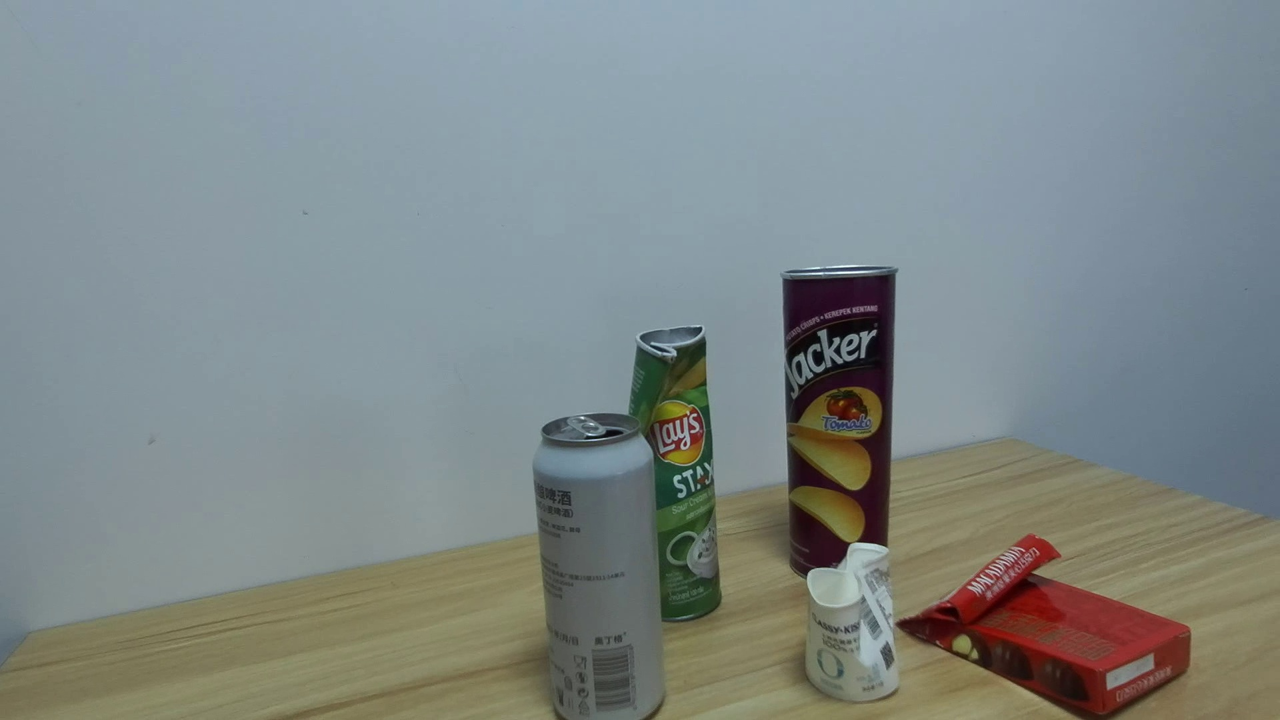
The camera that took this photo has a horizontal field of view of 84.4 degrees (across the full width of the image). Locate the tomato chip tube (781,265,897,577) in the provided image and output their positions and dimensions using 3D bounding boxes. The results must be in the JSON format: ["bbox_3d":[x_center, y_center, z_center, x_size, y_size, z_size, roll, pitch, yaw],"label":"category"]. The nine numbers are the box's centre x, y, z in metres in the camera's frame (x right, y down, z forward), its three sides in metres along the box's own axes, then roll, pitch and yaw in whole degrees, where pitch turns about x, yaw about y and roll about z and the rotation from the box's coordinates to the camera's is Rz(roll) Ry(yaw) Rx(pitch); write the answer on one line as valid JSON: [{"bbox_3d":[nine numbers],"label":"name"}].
[{"bbox_3d":[0.152,0.048,0.540,0.080,0.234,0.077,4,13,34],"label":"tomato chip tube"}]

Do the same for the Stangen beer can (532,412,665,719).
[{"bbox_3d":[-0.022,0.118,0.398,0.067,0.171,0.067,-3,11,1],"label":"Stangen beer can"}]

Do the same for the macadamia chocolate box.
[{"bbox_3d":[0.247,0.165,0.439,0.112,0.056,0.126,-24,20,-21],"label":"macadamia chocolate box"}]

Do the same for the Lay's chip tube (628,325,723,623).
[{"bbox_3d":[0.022,0.080,0.505,0.069,0.201,0.077,-3,14,-4],"label":"Lay's chip tube"}]

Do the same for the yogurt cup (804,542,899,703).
[{"bbox_3d":[0.125,0.155,0.417,0.053,0.071,0.075,0,12,9],"label":"yogurt cup"}]
